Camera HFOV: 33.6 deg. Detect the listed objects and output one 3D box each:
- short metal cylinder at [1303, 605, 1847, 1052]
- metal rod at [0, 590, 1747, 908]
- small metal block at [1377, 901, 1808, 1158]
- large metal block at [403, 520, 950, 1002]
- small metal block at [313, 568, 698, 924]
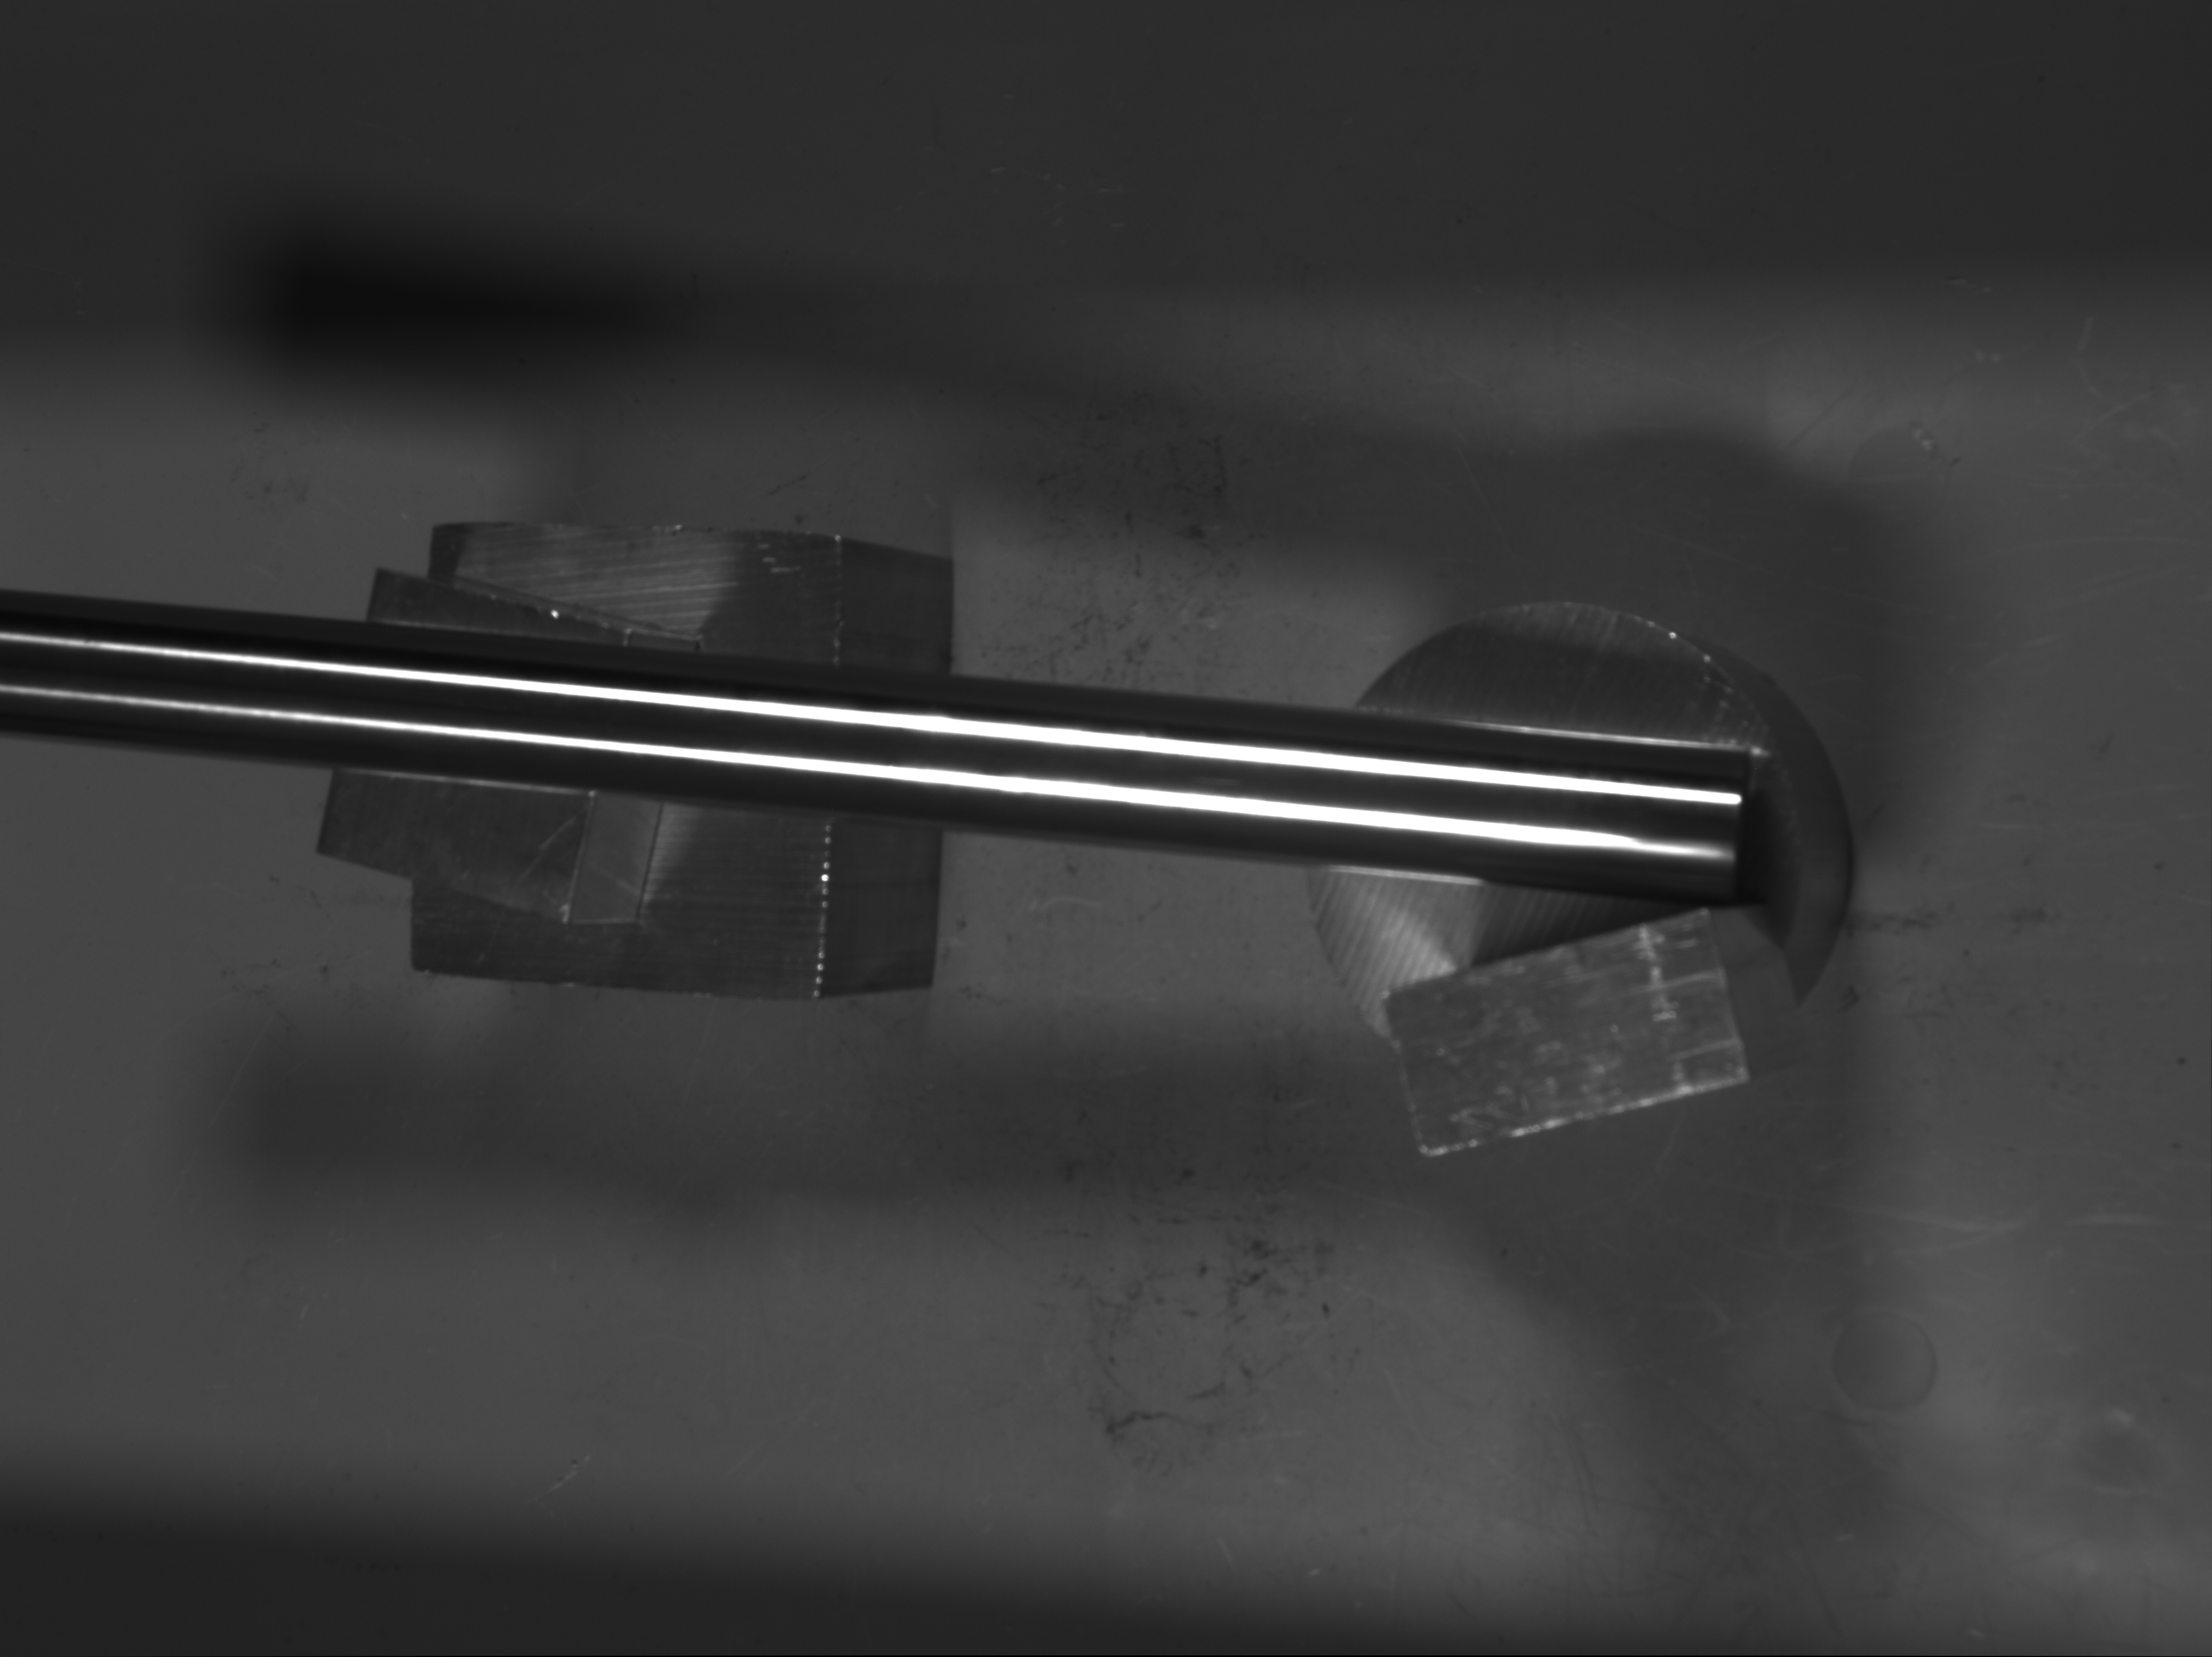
[{"bbox_3d":[0.078,0.005,0.602,0.080,0.050,0.080,0,90,20],"label":"short metal cylinder"},{"bbox_3d":[-0.050,-0.014,0.586,0.300,0.025,0.025,6,92,12],"label":"metal rod"},{"bbox_3d":[0.074,0.030,0.549,0.050,0.050,0.025,-16,85,19],"label":"small metal block"},{"bbox_3d":[-0.076,-0.012,0.656,0.080,0.050,0.080,3,91,20],"label":"large metal block"},{"bbox_3d":[-0.103,-0.014,0.626,0.050,0.025,0.050,14,94,19],"label":"small metal block"}]
